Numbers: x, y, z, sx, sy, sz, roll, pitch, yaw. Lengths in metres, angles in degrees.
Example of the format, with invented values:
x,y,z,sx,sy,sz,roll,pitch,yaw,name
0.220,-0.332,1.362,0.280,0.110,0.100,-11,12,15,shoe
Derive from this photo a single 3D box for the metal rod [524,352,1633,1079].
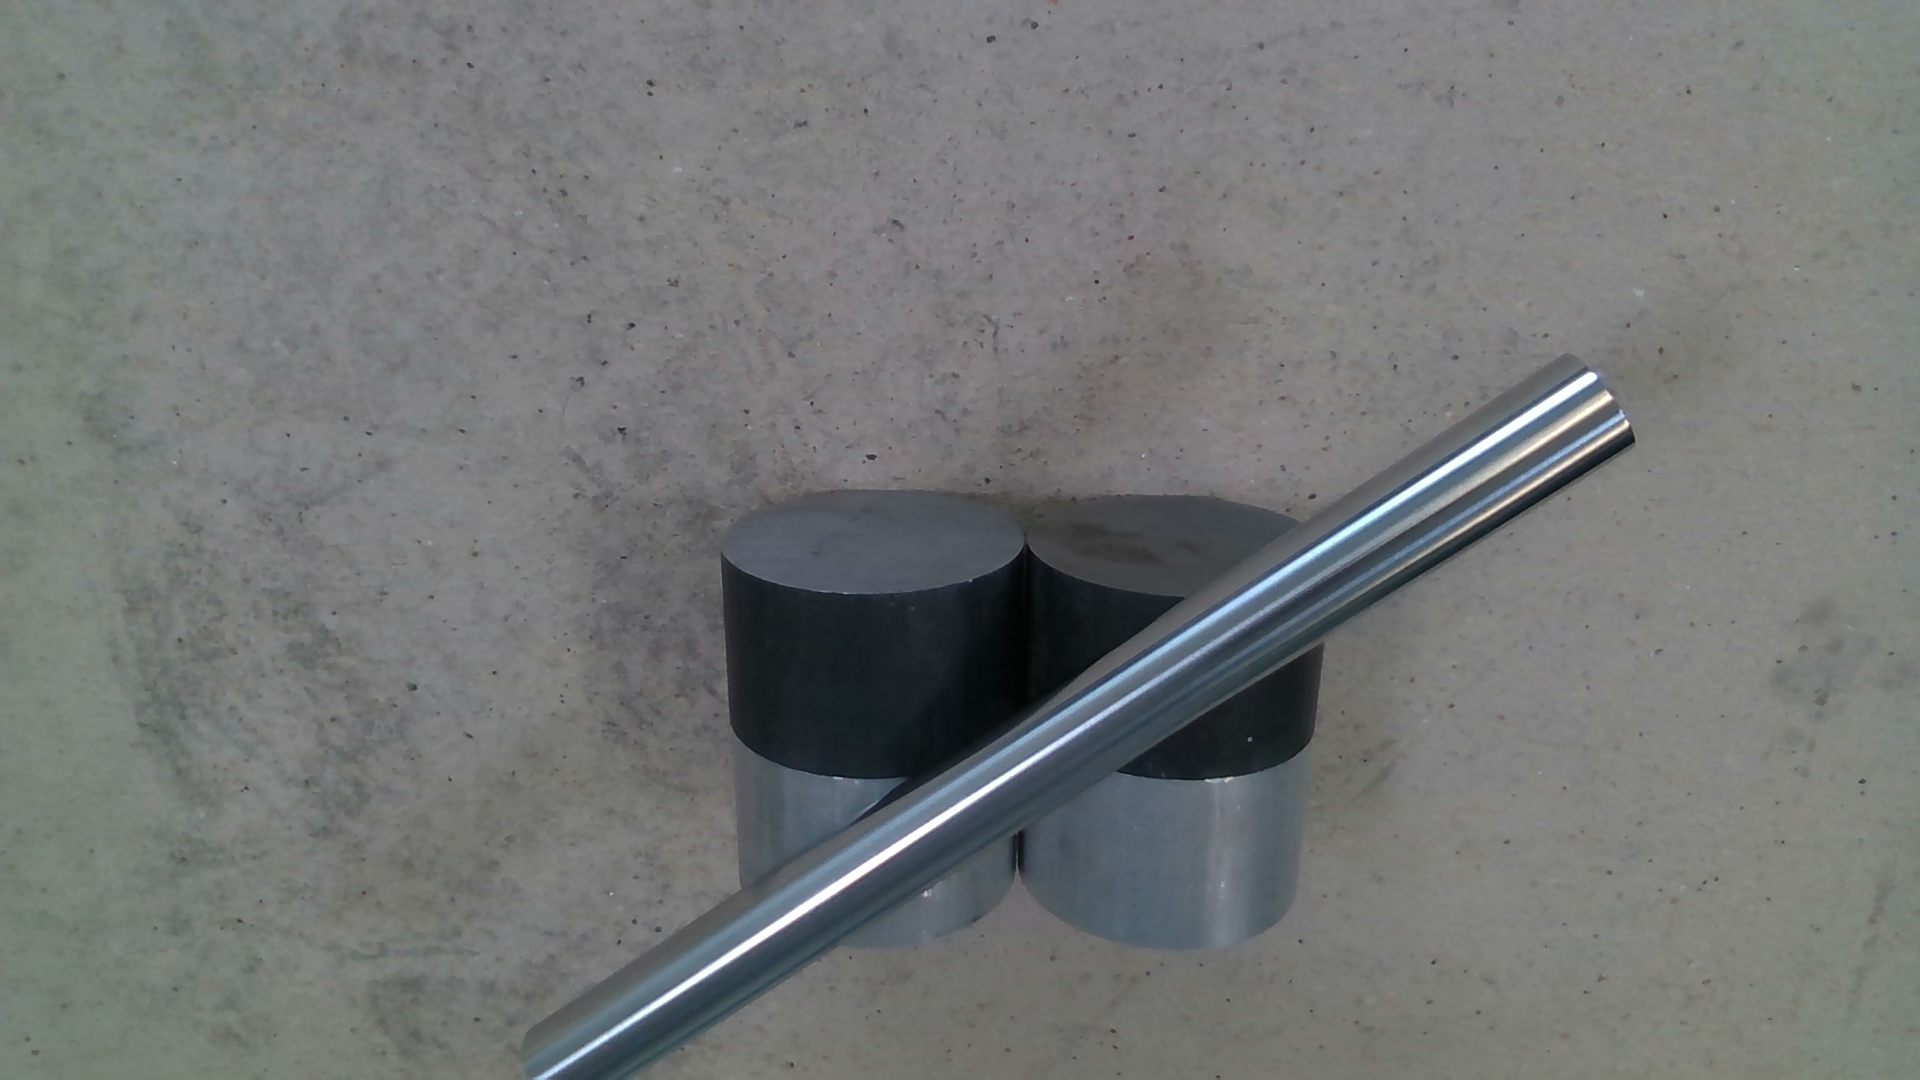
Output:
x,y,z,sx,sy,sz,roll,pitch,yaw,name
0.016,0.053,0.328,0.300,0.025,0.025,-35,106,12,metal rod

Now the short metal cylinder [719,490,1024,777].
x,y,z,sx,sy,sz,roll,pitch,yaw,name
-0.023,0.022,0.373,0.080,0.080,0.050,1,110,0,short metal cylinder

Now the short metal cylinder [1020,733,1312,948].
x,y,z,sx,sy,sz,roll,pitch,yaw,name
0.057,0.070,0.390,0.080,0.080,0.050,1,110,0,short metal cylinder

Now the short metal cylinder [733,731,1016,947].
x,y,z,sx,sy,sz,roll,pitch,yaw,name
-0.023,0.070,0.390,0.080,0.080,0.050,1,110,0,short metal cylinder

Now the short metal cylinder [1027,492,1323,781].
x,y,z,sx,sy,sz,roll,pitch,yaw,name
0.058,0.023,0.373,0.080,0.080,0.050,1,110,0,short metal cylinder
